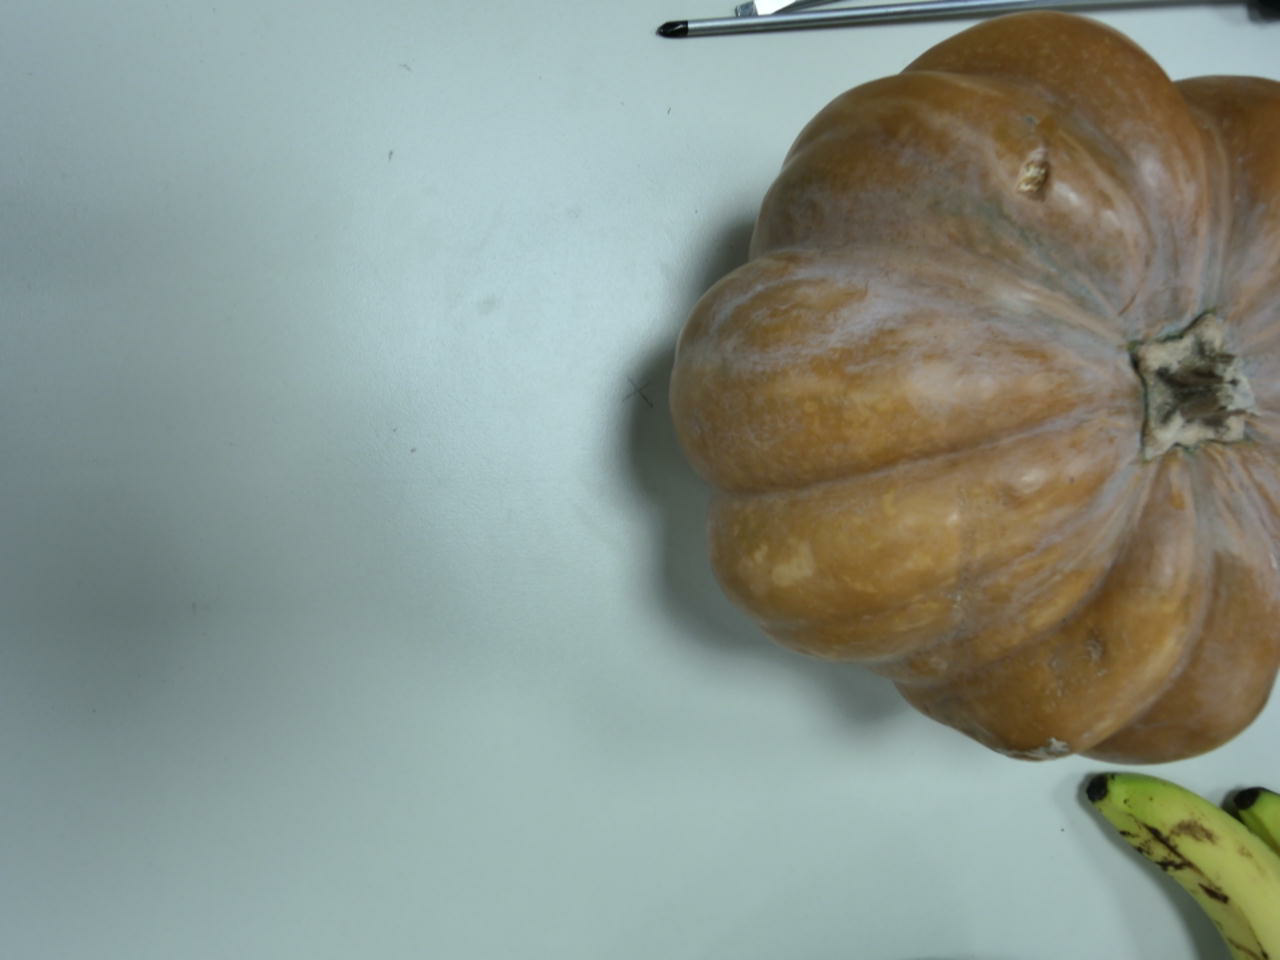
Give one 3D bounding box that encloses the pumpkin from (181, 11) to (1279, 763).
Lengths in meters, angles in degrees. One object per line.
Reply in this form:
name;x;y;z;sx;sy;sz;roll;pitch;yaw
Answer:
pumpkin;0.148;-0.031;0.374;0.277;0.181;0.277;0;91;-12
